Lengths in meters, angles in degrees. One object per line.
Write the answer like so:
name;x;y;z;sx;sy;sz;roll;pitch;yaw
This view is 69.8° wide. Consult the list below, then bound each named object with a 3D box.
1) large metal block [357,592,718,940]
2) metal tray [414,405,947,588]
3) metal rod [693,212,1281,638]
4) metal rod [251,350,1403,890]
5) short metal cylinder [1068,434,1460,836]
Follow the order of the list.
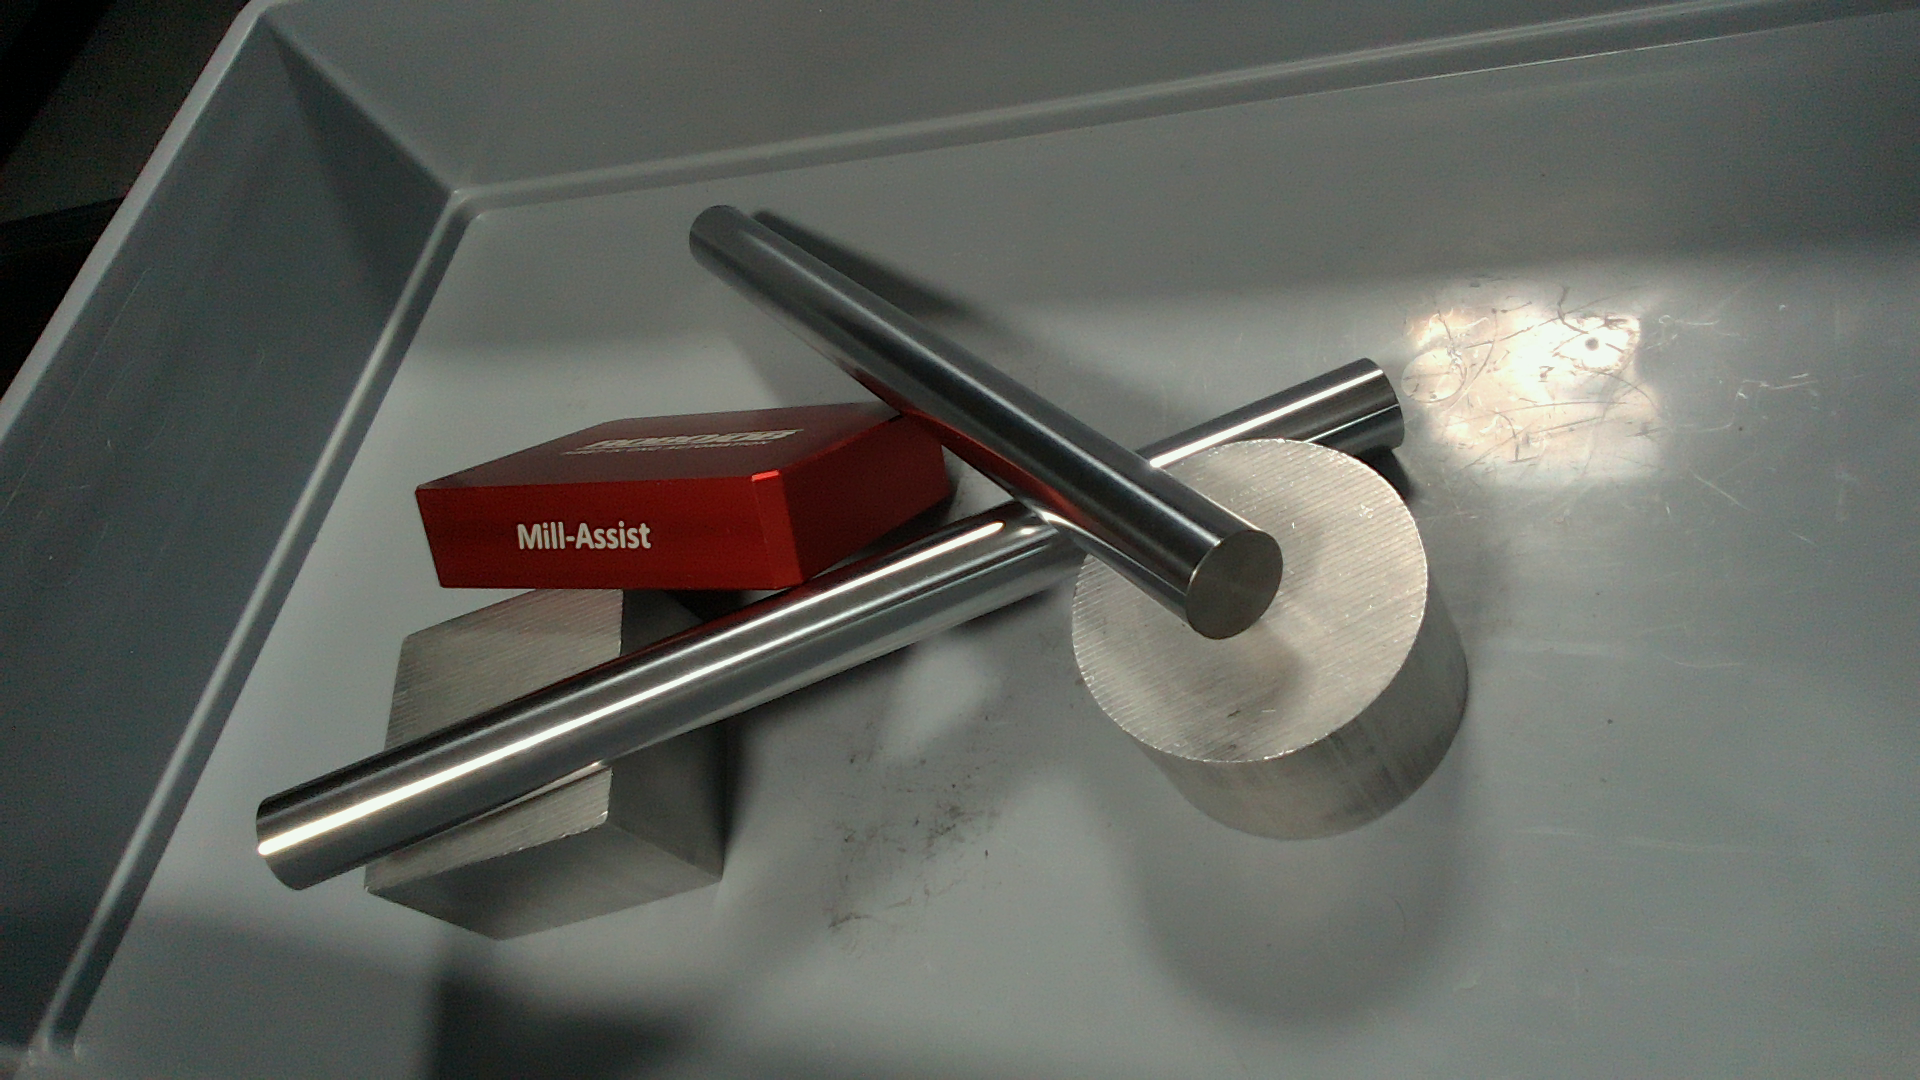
large metal block;-0.118;0.062;0.398;0.080;0.050;0.080;-18;54;18
metal tray;-0.081;-0.015;0.407;0.130;0.030;0.090;-1;17;30
metal rod;-0.016;-0.051;0.395;0.025;0.025;0.299;-46;38;-3
metal rod;-0.031;0.019;0.350;0.300;0.025;0.025;-22;52;-2
short metal cylinder;0.072;0.023;0.322;0.080;0.050;0.080;-14;56;21
